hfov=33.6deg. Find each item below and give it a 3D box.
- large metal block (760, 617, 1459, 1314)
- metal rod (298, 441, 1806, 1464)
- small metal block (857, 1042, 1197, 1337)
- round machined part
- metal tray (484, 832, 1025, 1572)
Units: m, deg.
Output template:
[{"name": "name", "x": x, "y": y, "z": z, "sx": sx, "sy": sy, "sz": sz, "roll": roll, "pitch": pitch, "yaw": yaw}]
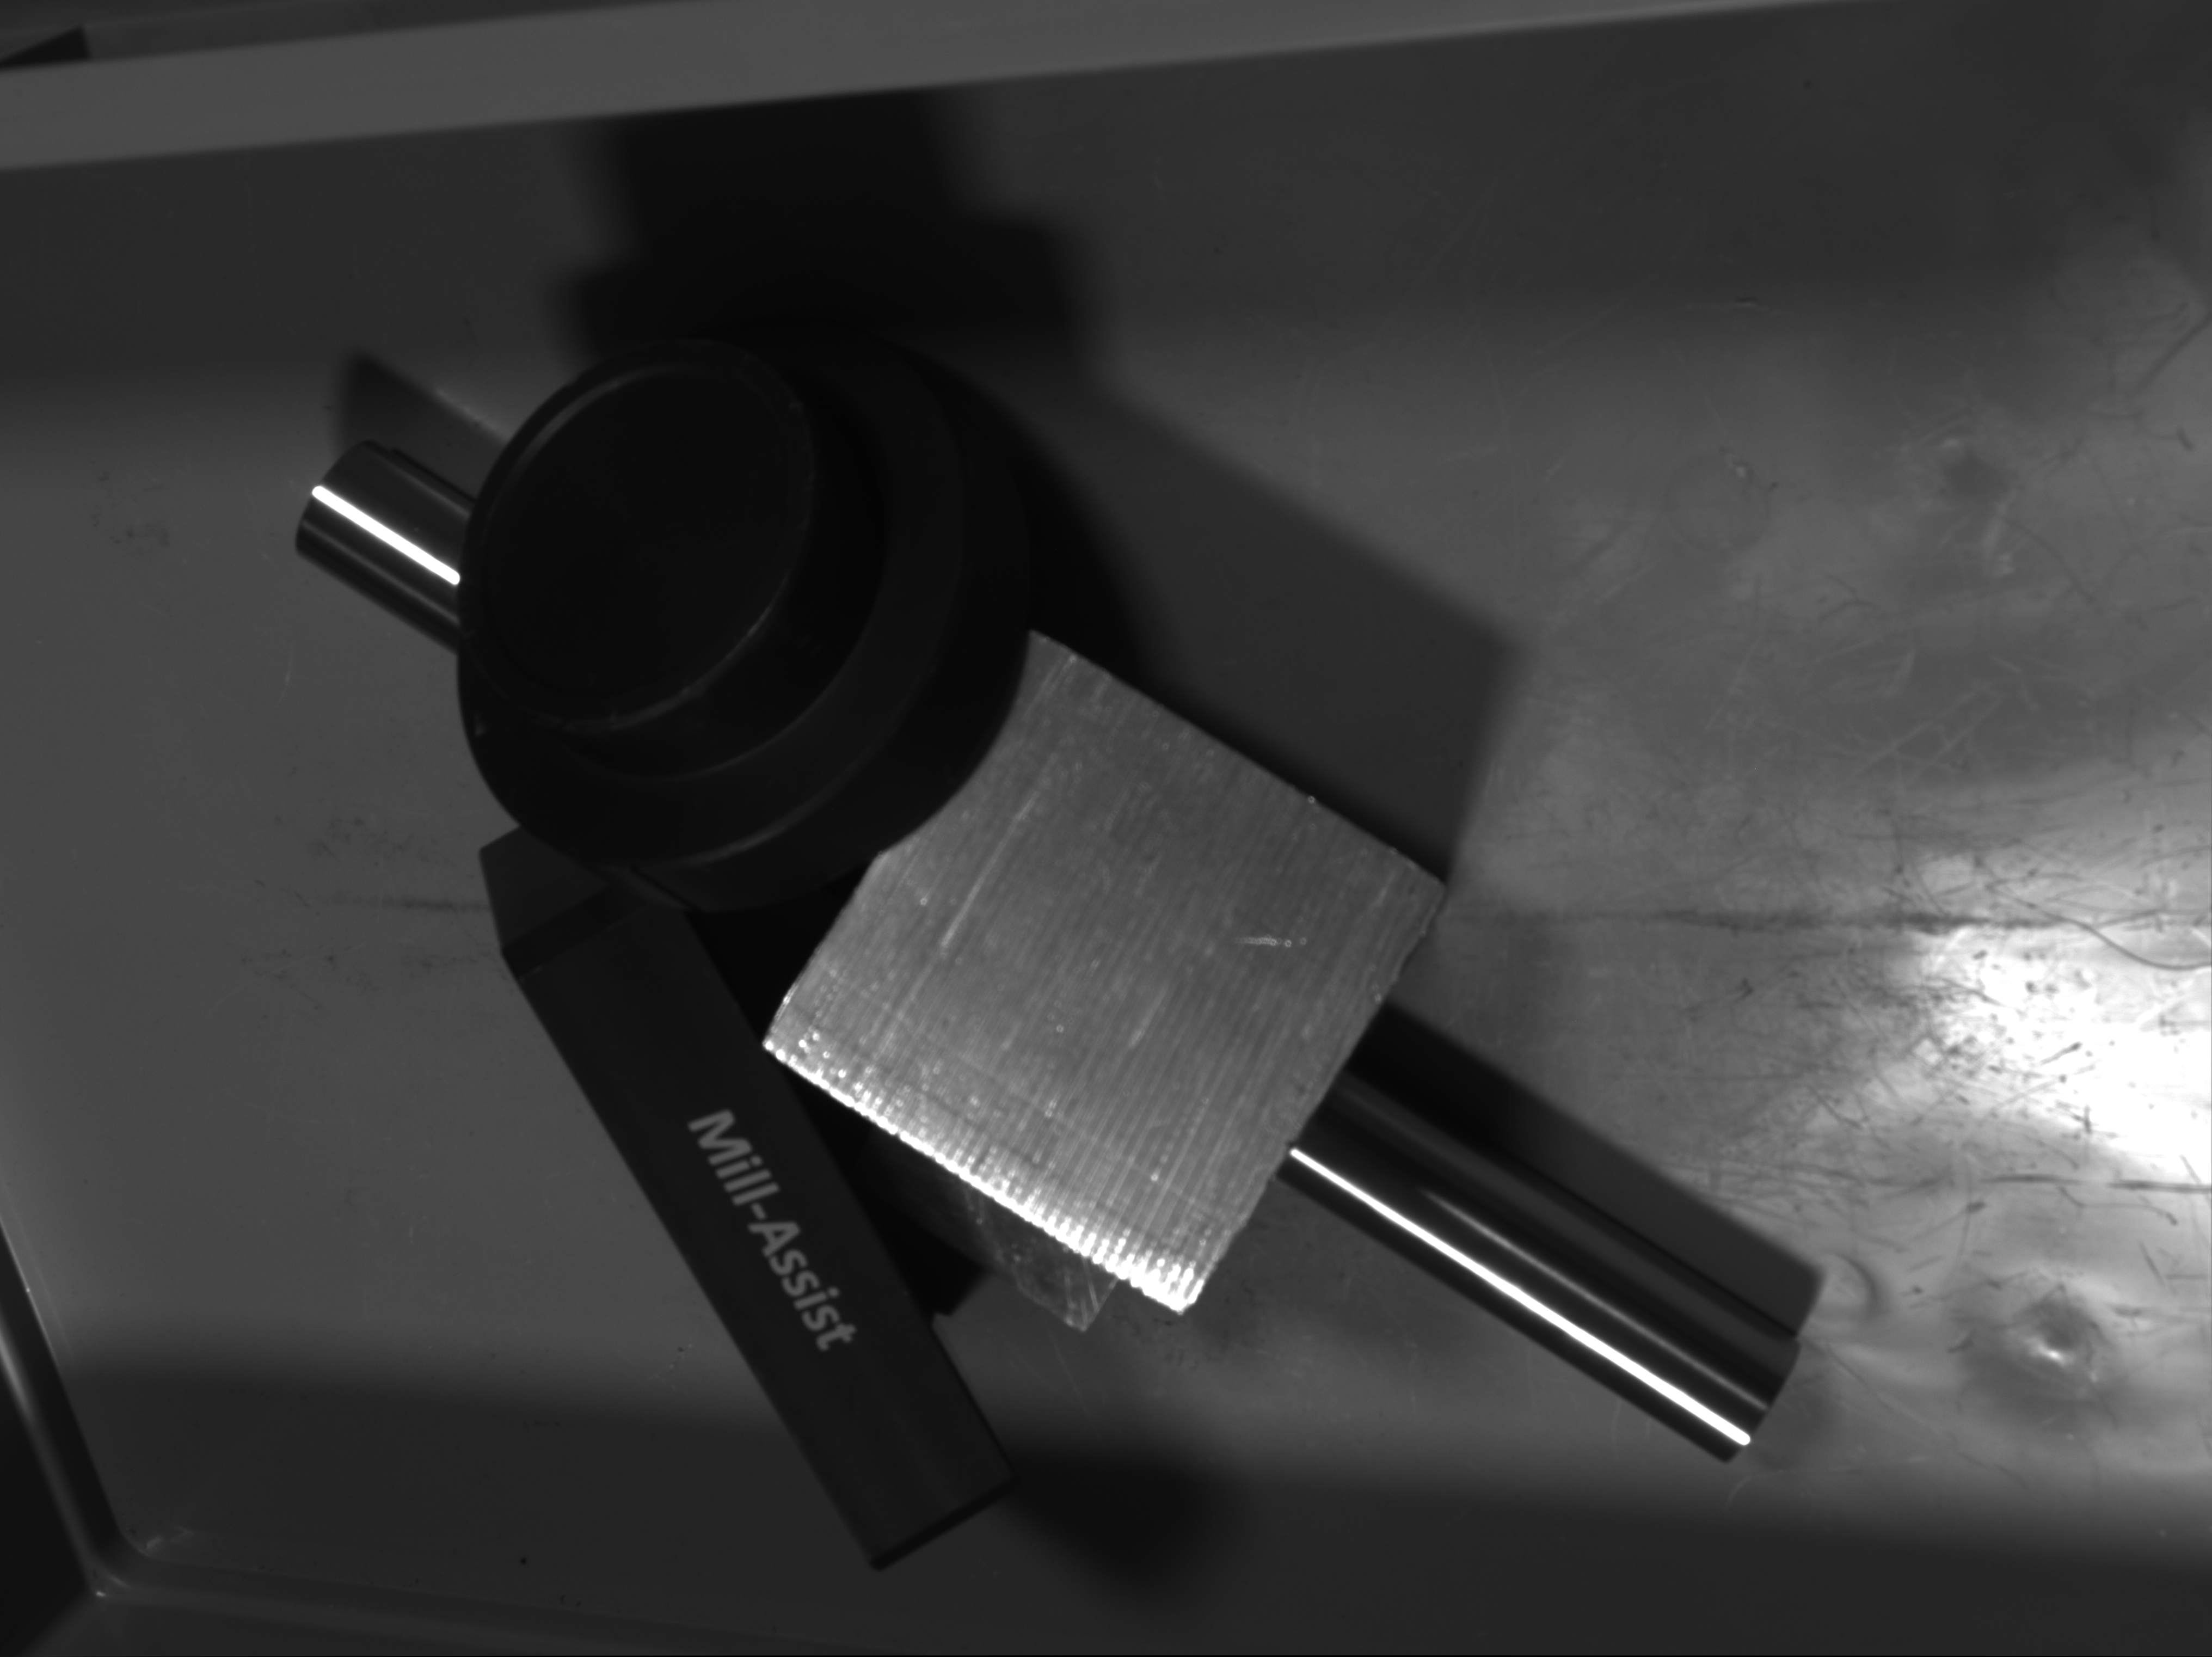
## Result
[{"name": "large metal block", "x": 0.002, "y": 0.024, "z": 0.603, "sx": 0.080, "sy": 0.050, "sz": 0.080, "roll": 32, "pitch": 85, "yaw": 6}, {"name": "metal rod", "x": -0.012, "y": 0.020, "z": 0.648, "sx": 0.300, "sy": 0.025, "sz": 0.025, "roll": 32, "pitch": 128, "yaw": 6}, {"name": "small metal block", "x": -0.009, "y": 0.054, "z": 0.650, "sx": 0.050, "sy": 0.050, "sz": 0.025, "roll": 33, "pitch": 128, "yaw": 5}, {"name": "round machined part", "x": -0.064, "y": -0.039, "z": 0.590, "sx": 0.098, "sy": 0.098, "sz": 0.042, "roll": -2, "pitch": 158, "yaw": 28}, {"name": "metal tray", "x": -0.065, "y": 0.060, "z": 0.659, "sx": 0.030, "sy": 0.090, "sz": 0.130, "roll": -30, "pitch": 106, "yaw": -5}]
